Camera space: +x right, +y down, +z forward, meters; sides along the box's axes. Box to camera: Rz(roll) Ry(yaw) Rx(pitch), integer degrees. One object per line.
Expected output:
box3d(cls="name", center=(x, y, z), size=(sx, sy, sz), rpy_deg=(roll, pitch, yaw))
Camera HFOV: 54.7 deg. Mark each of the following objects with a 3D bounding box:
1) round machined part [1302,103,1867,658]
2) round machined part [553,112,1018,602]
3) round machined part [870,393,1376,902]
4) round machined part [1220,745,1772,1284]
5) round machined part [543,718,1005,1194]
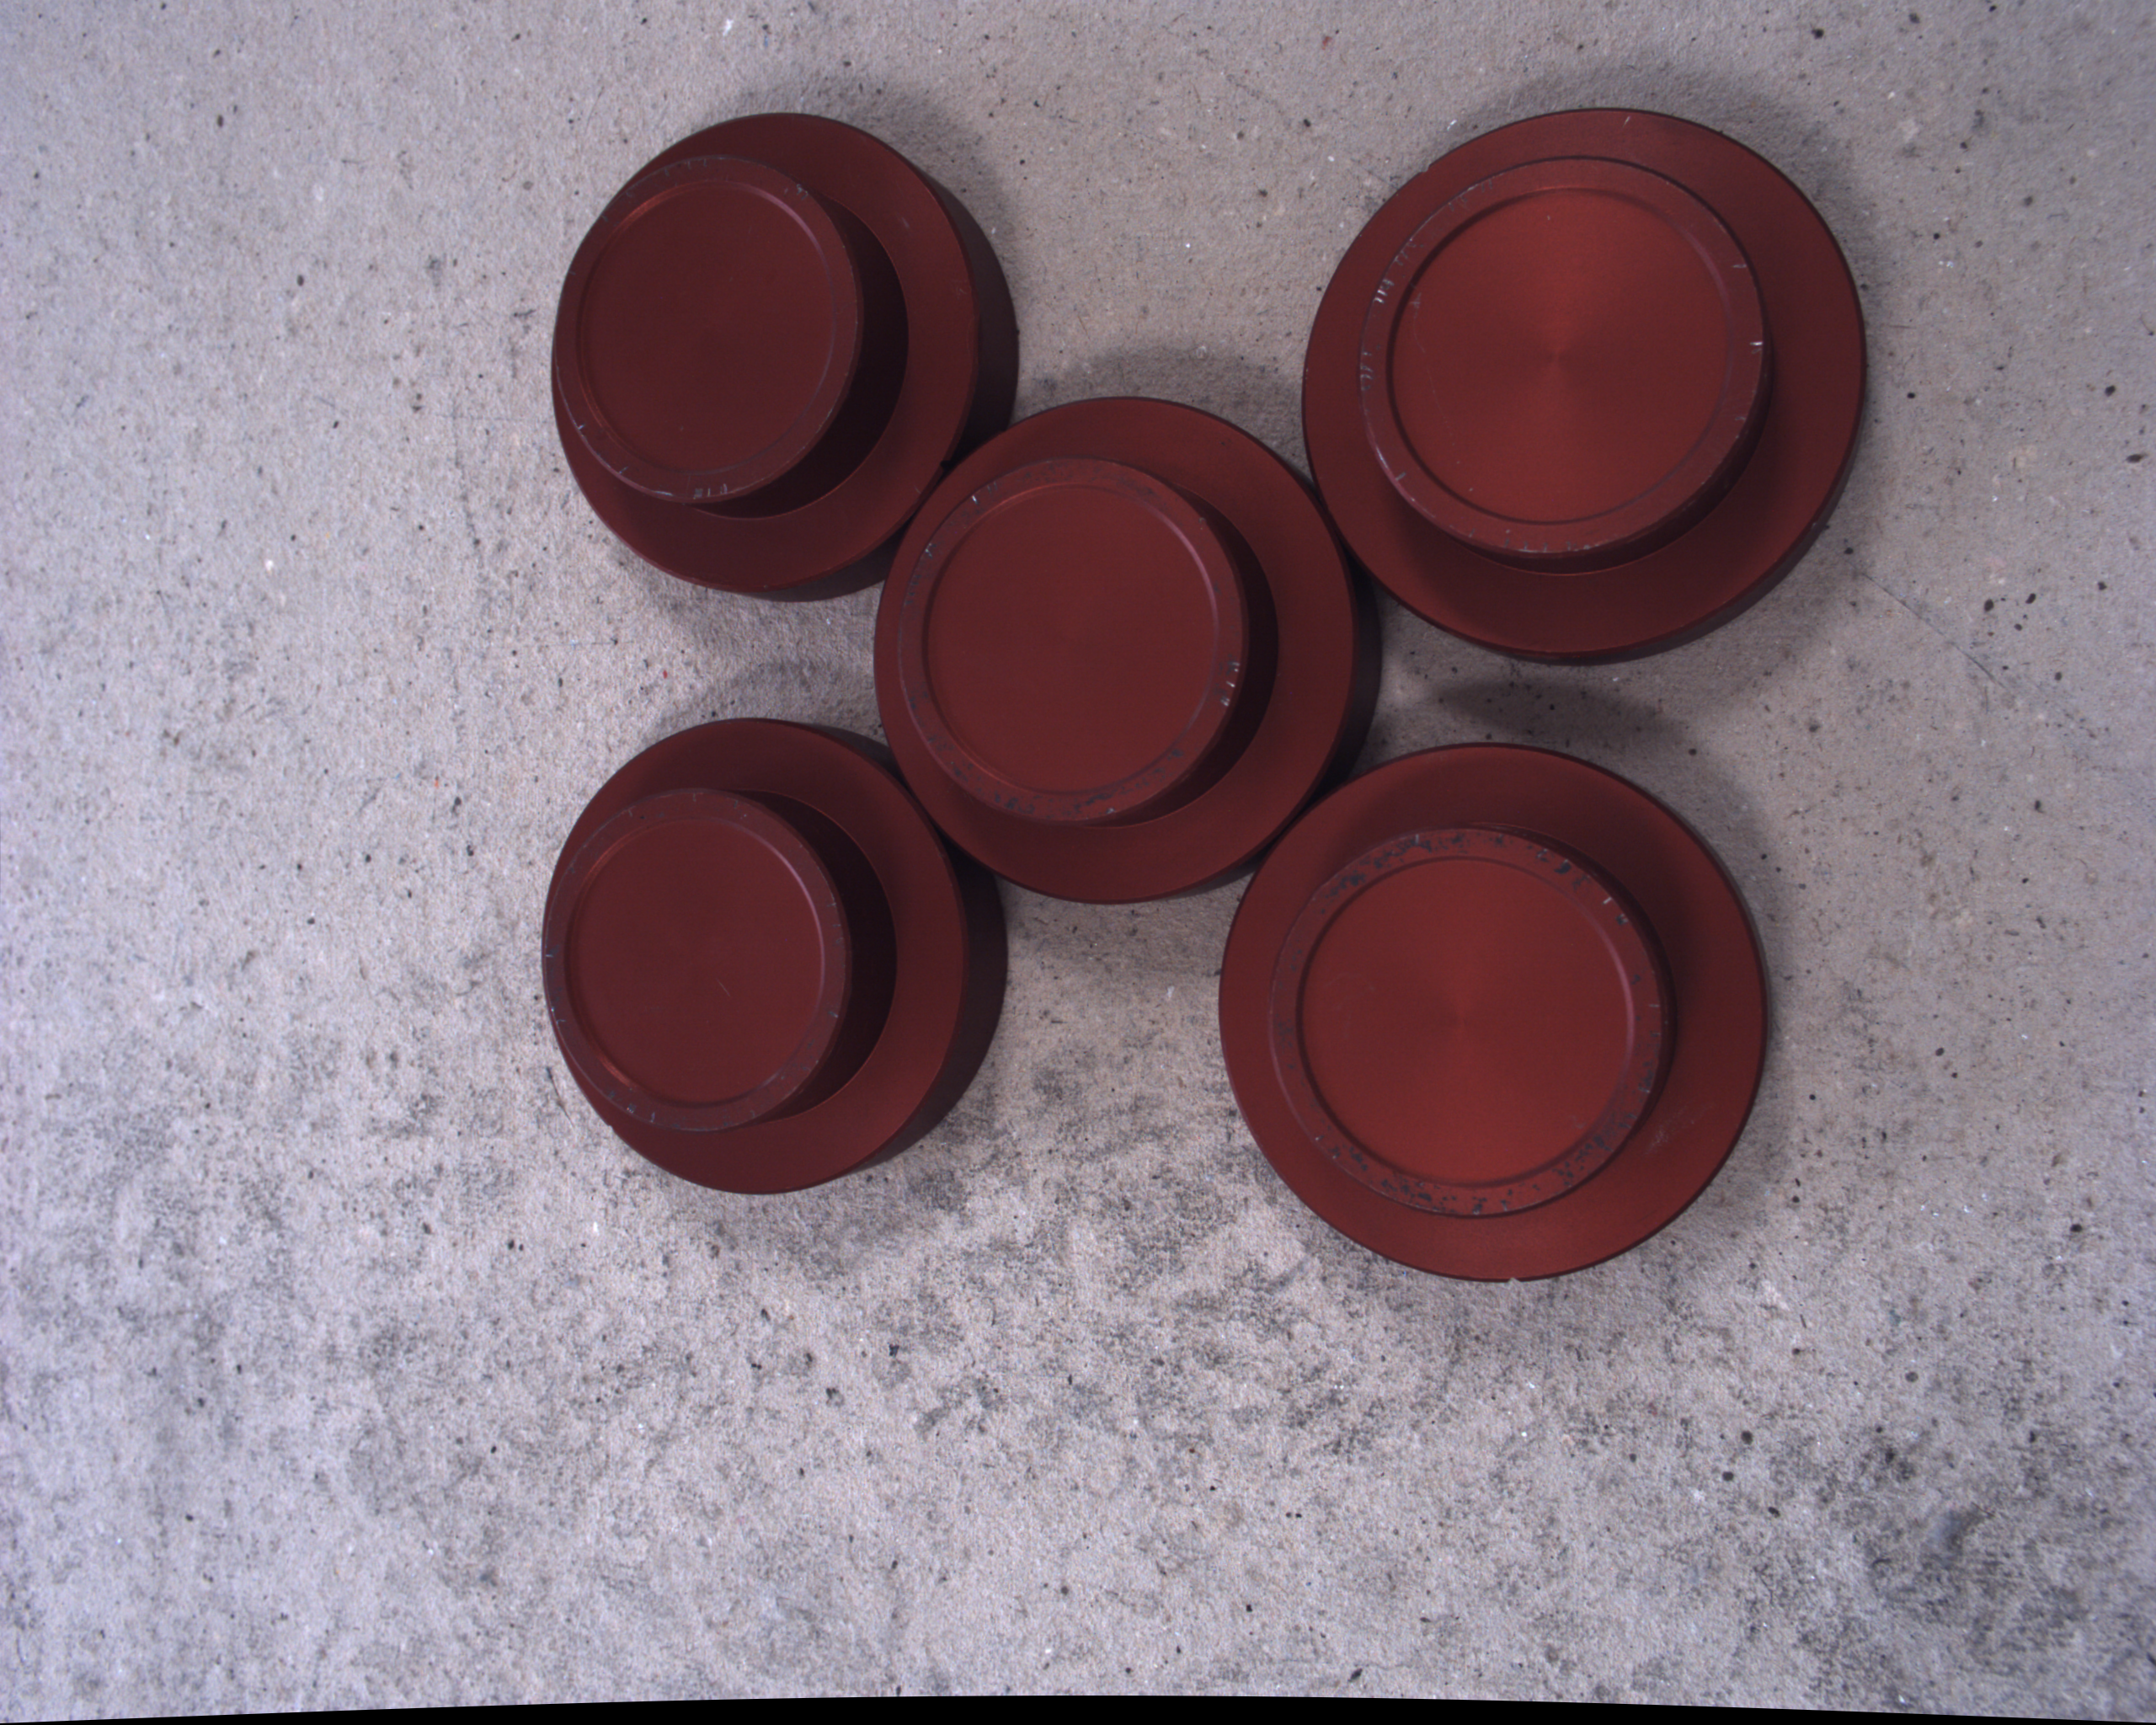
box3d(cls="round machined part", center=(0.087, -0.085, 0.369), size=(0.098, 0.042, 0.097), rpy_deg=(1, 92, 20))
box3d(cls="round machined part", center=(-0.065, -0.104, 0.424), size=(0.098, 0.042, 0.097), rpy_deg=(0, 90, 20))
box3d(cls="round machined part", center=(0.004, -0.041, 0.400), size=(0.098, 0.042, 0.097), rpy_deg=(1, 92, 20))
box3d(cls="round machined part", center=(0.072, 0.027, 0.375), size=(0.098, 0.042, 0.097), rpy_deg=(1, 92, 20))
box3d(cls="round machined part", center=(-0.068, 0.019, 0.425), size=(0.098, 0.042, 0.097), rpy_deg=(0, 91, 19))
